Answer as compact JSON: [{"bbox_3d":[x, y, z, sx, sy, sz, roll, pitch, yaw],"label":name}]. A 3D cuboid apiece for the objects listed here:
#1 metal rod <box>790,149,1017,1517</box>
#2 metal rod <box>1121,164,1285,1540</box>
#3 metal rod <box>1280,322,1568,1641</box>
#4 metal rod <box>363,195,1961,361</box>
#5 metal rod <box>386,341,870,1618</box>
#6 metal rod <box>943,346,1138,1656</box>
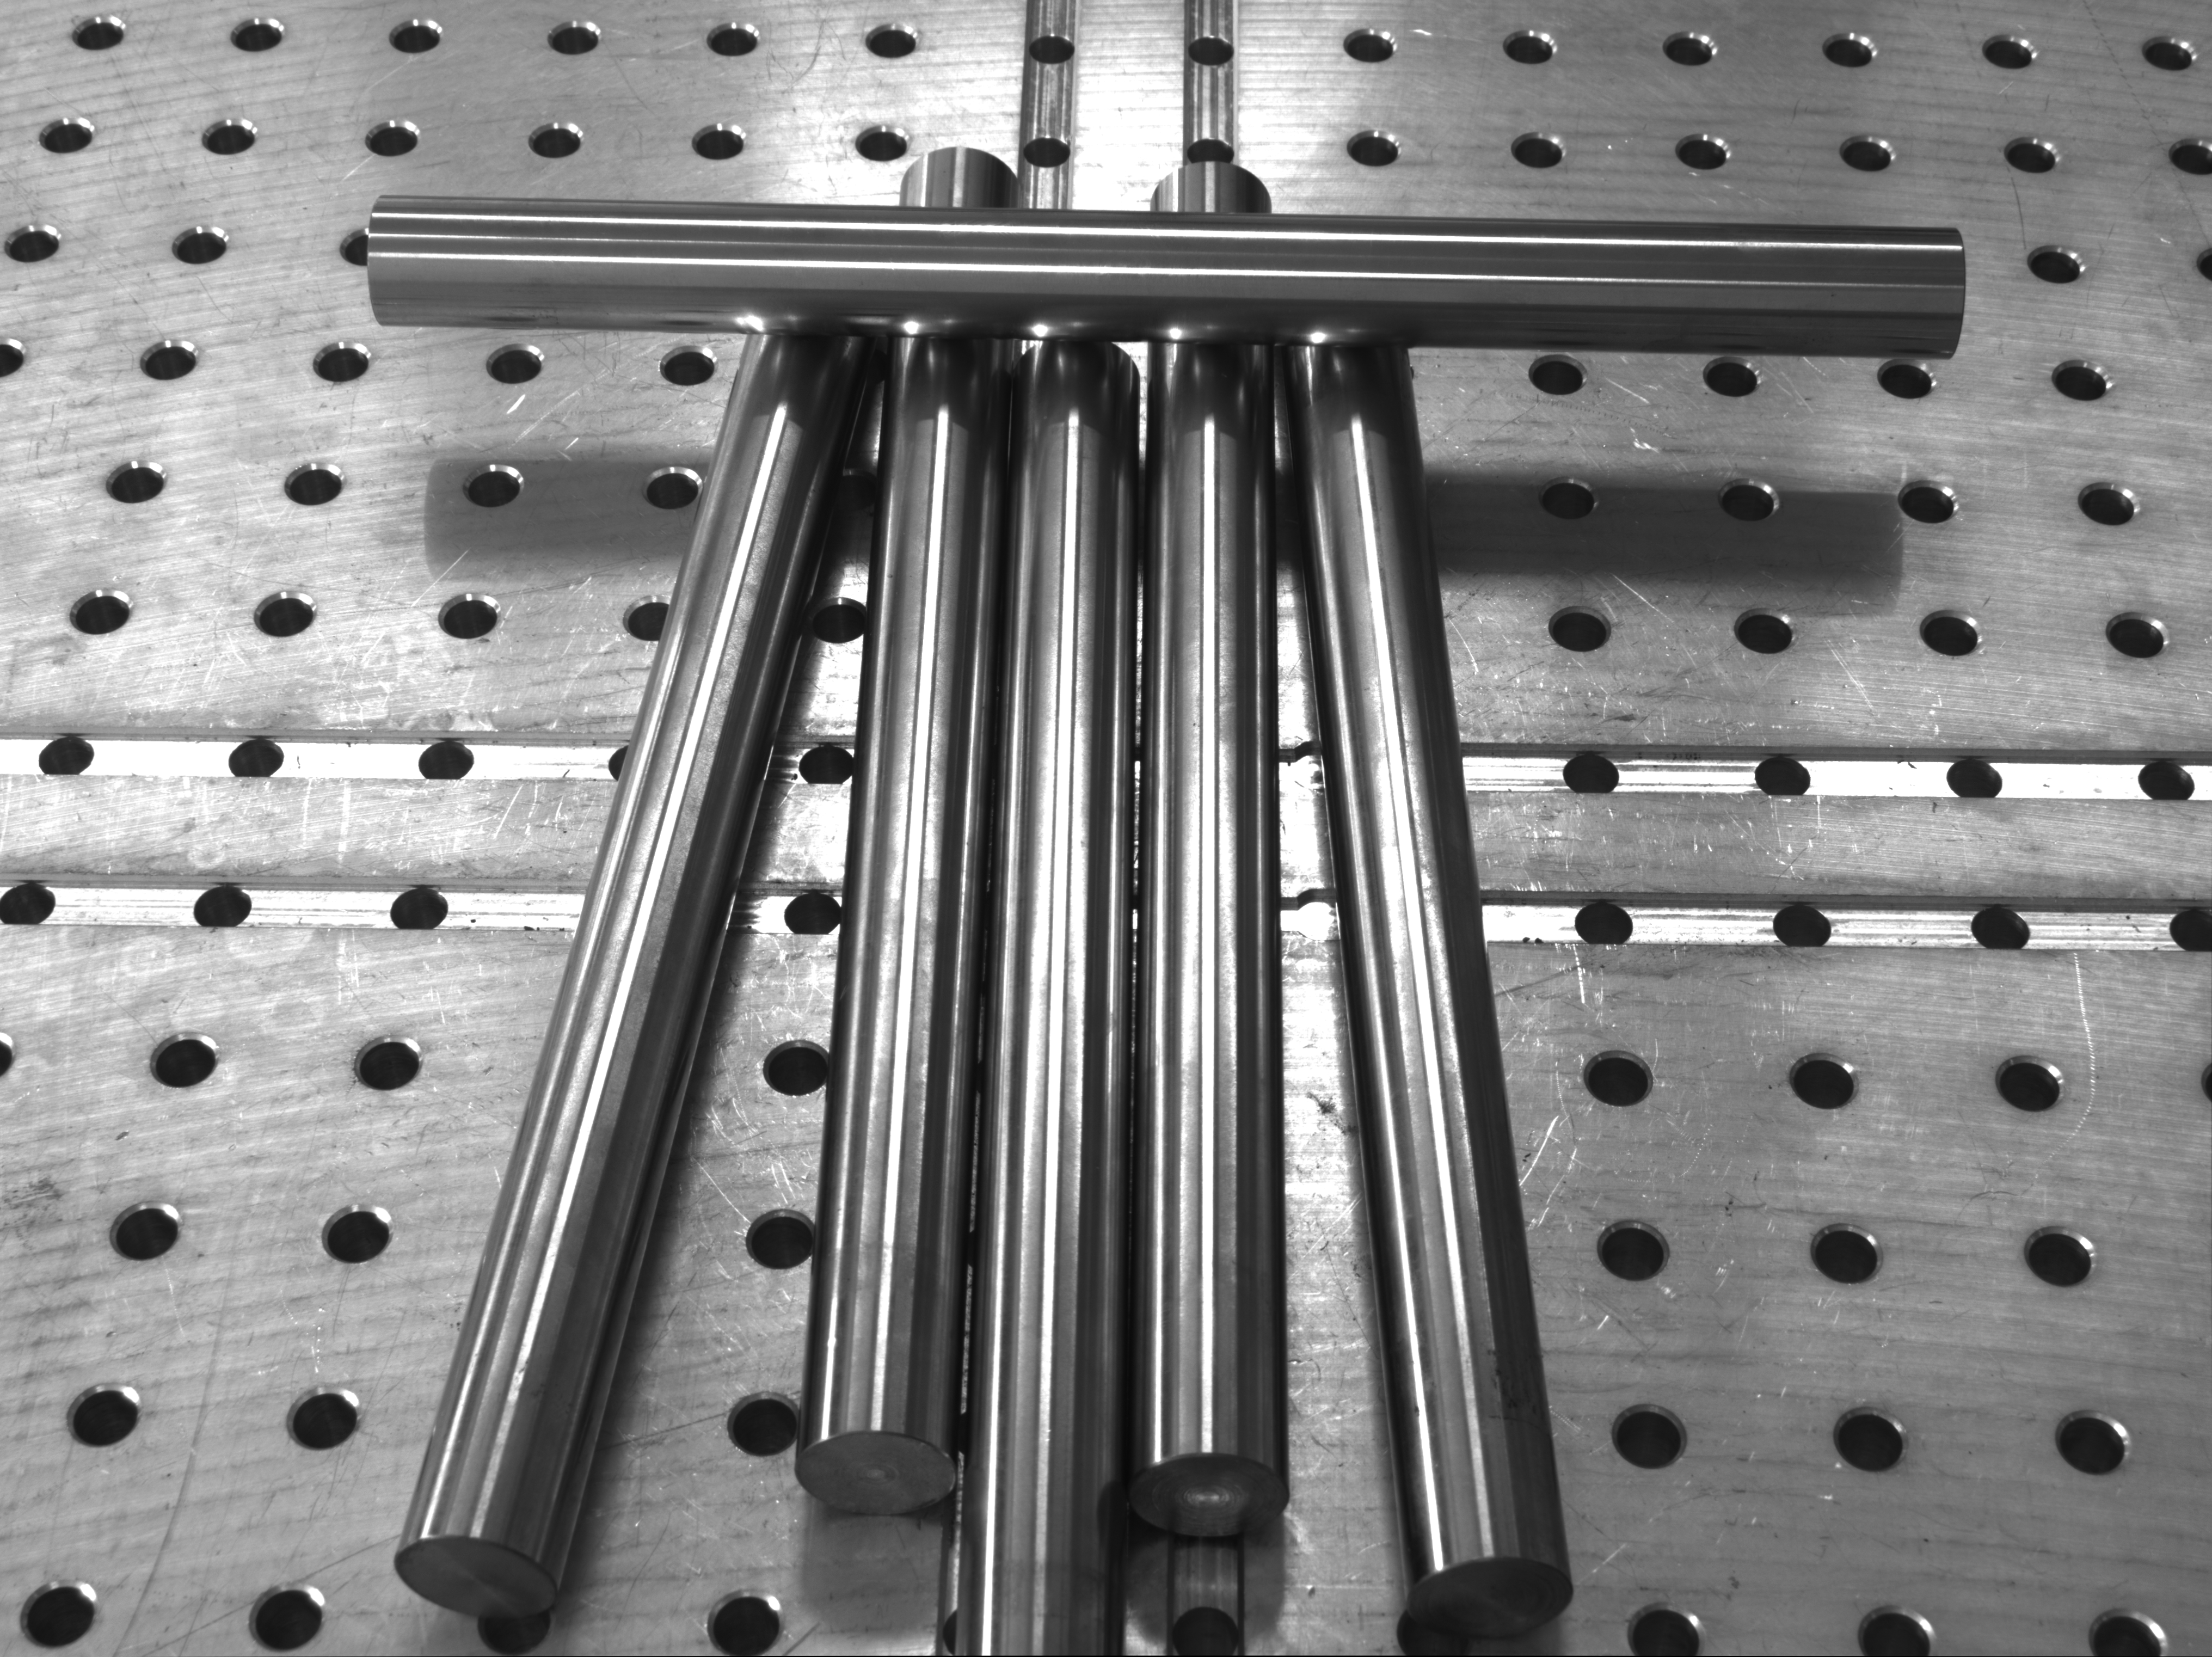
[{"bbox_3d":[-0.033,-0.015,0.659,0.025,0.025,0.300,1,50,1],"label":"metal rod"},{"bbox_3d":[0.018,-0.012,0.657,0.025,0.025,0.300,1,50,1],"label":"metal rod"},{"bbox_3d":[0.051,0.001,0.645,0.025,0.025,0.300,-2,50,-1],"label":"metal rod"},{"bbox_3d":[0.010,-0.105,0.702,0.300,0.025,0.025,1,50,1],"label":"metal rod"},{"bbox_3d":[-0.076,-0.002,0.645,0.025,0.025,0.300,6,50,5],"label":"metal rod"},{"bbox_3d":[-0.009,0.027,0.622,0.025,0.025,0.300,1,50,1],"label":"metal rod"}]
